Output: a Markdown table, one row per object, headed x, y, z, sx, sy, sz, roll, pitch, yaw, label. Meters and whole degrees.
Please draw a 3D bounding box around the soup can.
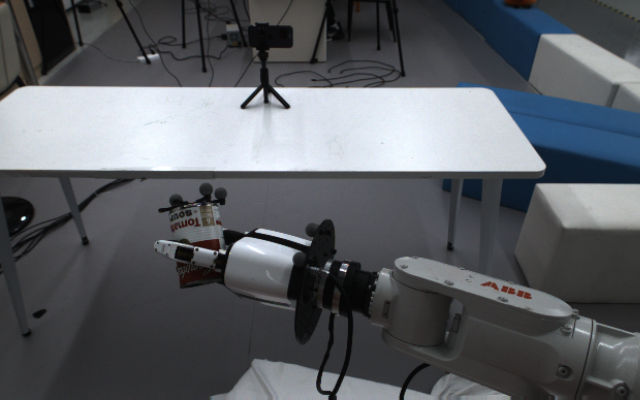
| x | y | z | sx | sy | sz | roll | pitch | yaw | label |
| --- | --- | --- | --- | --- | --- | --- | --- | --- | --- |
| -0.158 | 0.062 | 0.645 | 0.067 | 0.067 | 0.101 | -10 | 80 | -17 | soup can |
